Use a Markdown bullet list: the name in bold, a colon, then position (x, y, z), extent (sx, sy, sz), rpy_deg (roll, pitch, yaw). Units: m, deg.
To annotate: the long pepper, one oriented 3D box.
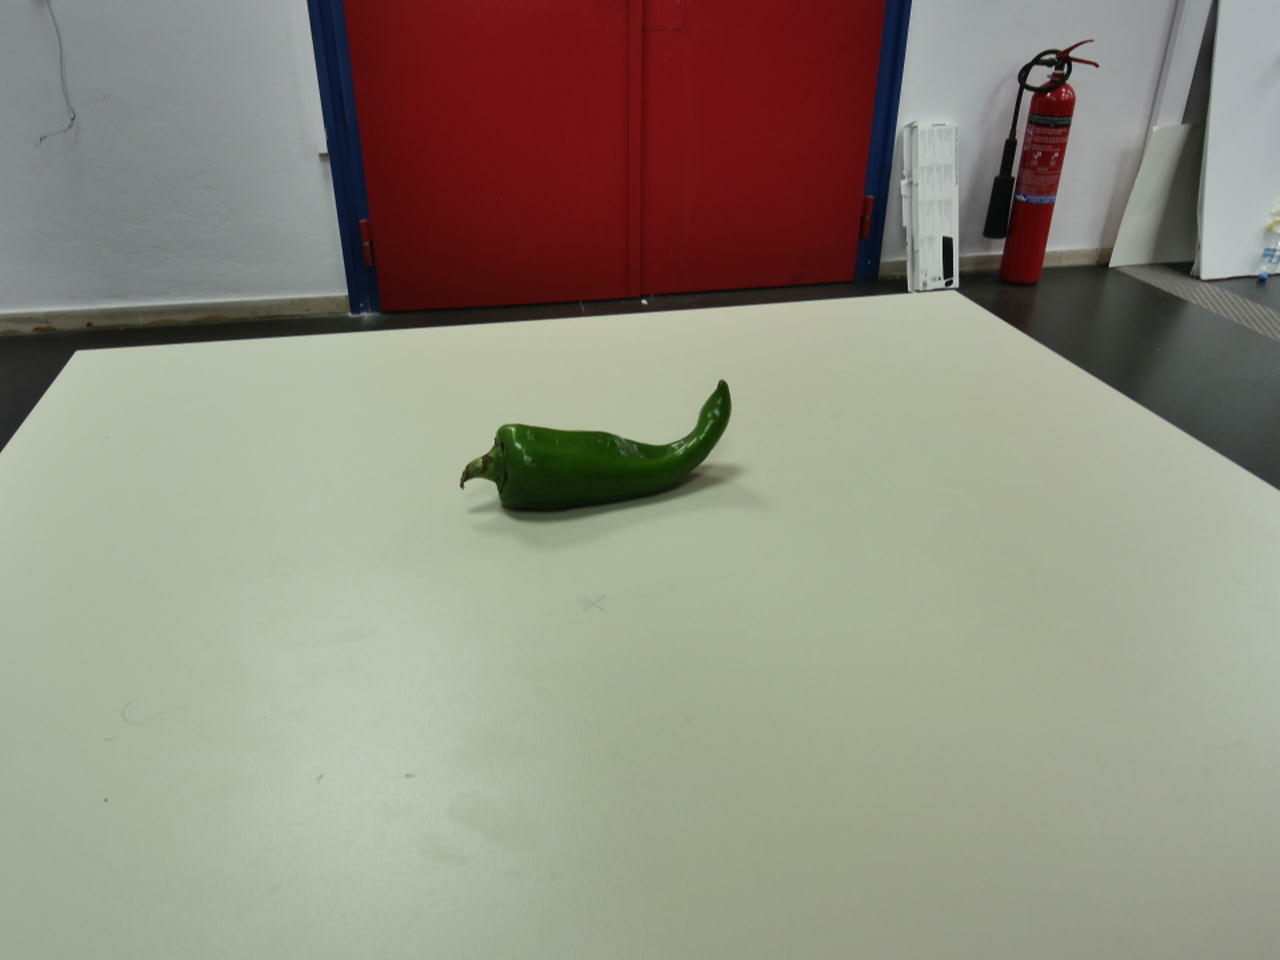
- **long pepper**: position (-0.024, -0.020, 0.613), extent (0.175, 0.065, 0.058), rpy_deg (-6, 27, -13)
